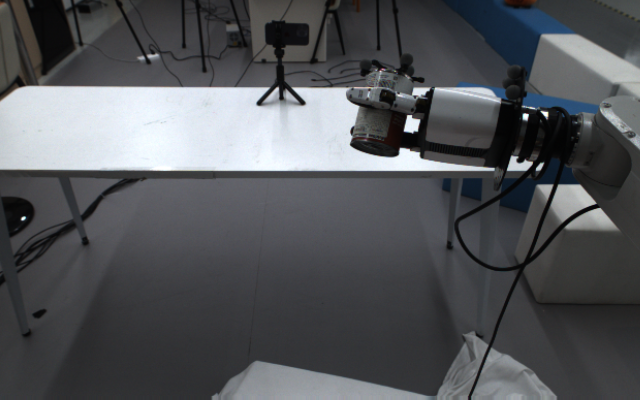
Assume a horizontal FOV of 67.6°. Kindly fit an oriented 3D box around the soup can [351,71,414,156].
[{"bbox_3d":[0.086,-0.117,0.657,0.067,0.101,0.067,14,-6,1],"label":"soup can"}]
